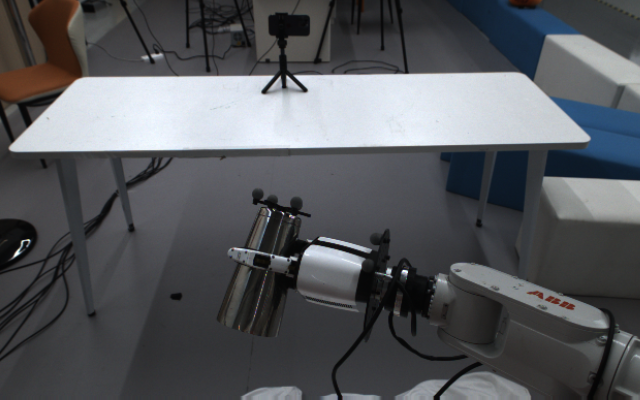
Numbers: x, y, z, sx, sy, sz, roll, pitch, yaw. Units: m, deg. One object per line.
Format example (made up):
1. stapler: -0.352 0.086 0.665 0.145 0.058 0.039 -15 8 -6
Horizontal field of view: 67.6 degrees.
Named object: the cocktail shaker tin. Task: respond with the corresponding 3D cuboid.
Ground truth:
1. cocktail shaker tin: -0.083 0.101 0.702 0.093 0.170 0.093 16 -7 2
